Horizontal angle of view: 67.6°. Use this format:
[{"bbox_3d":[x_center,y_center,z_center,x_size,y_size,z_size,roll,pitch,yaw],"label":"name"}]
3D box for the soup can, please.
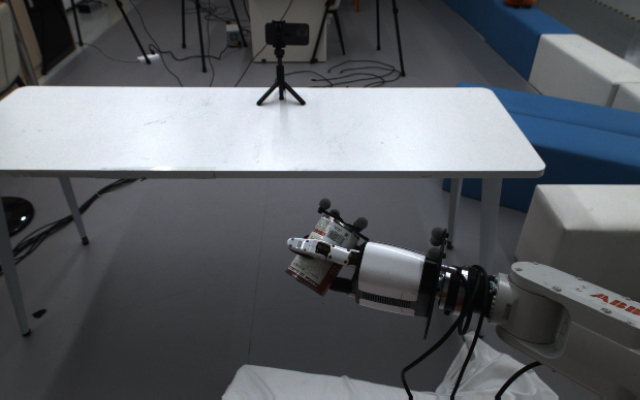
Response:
[{"bbox_3d":[0.005,0.082,0.710,0.067,0.067,0.101,27,78,31],"label":"soup can"}]
